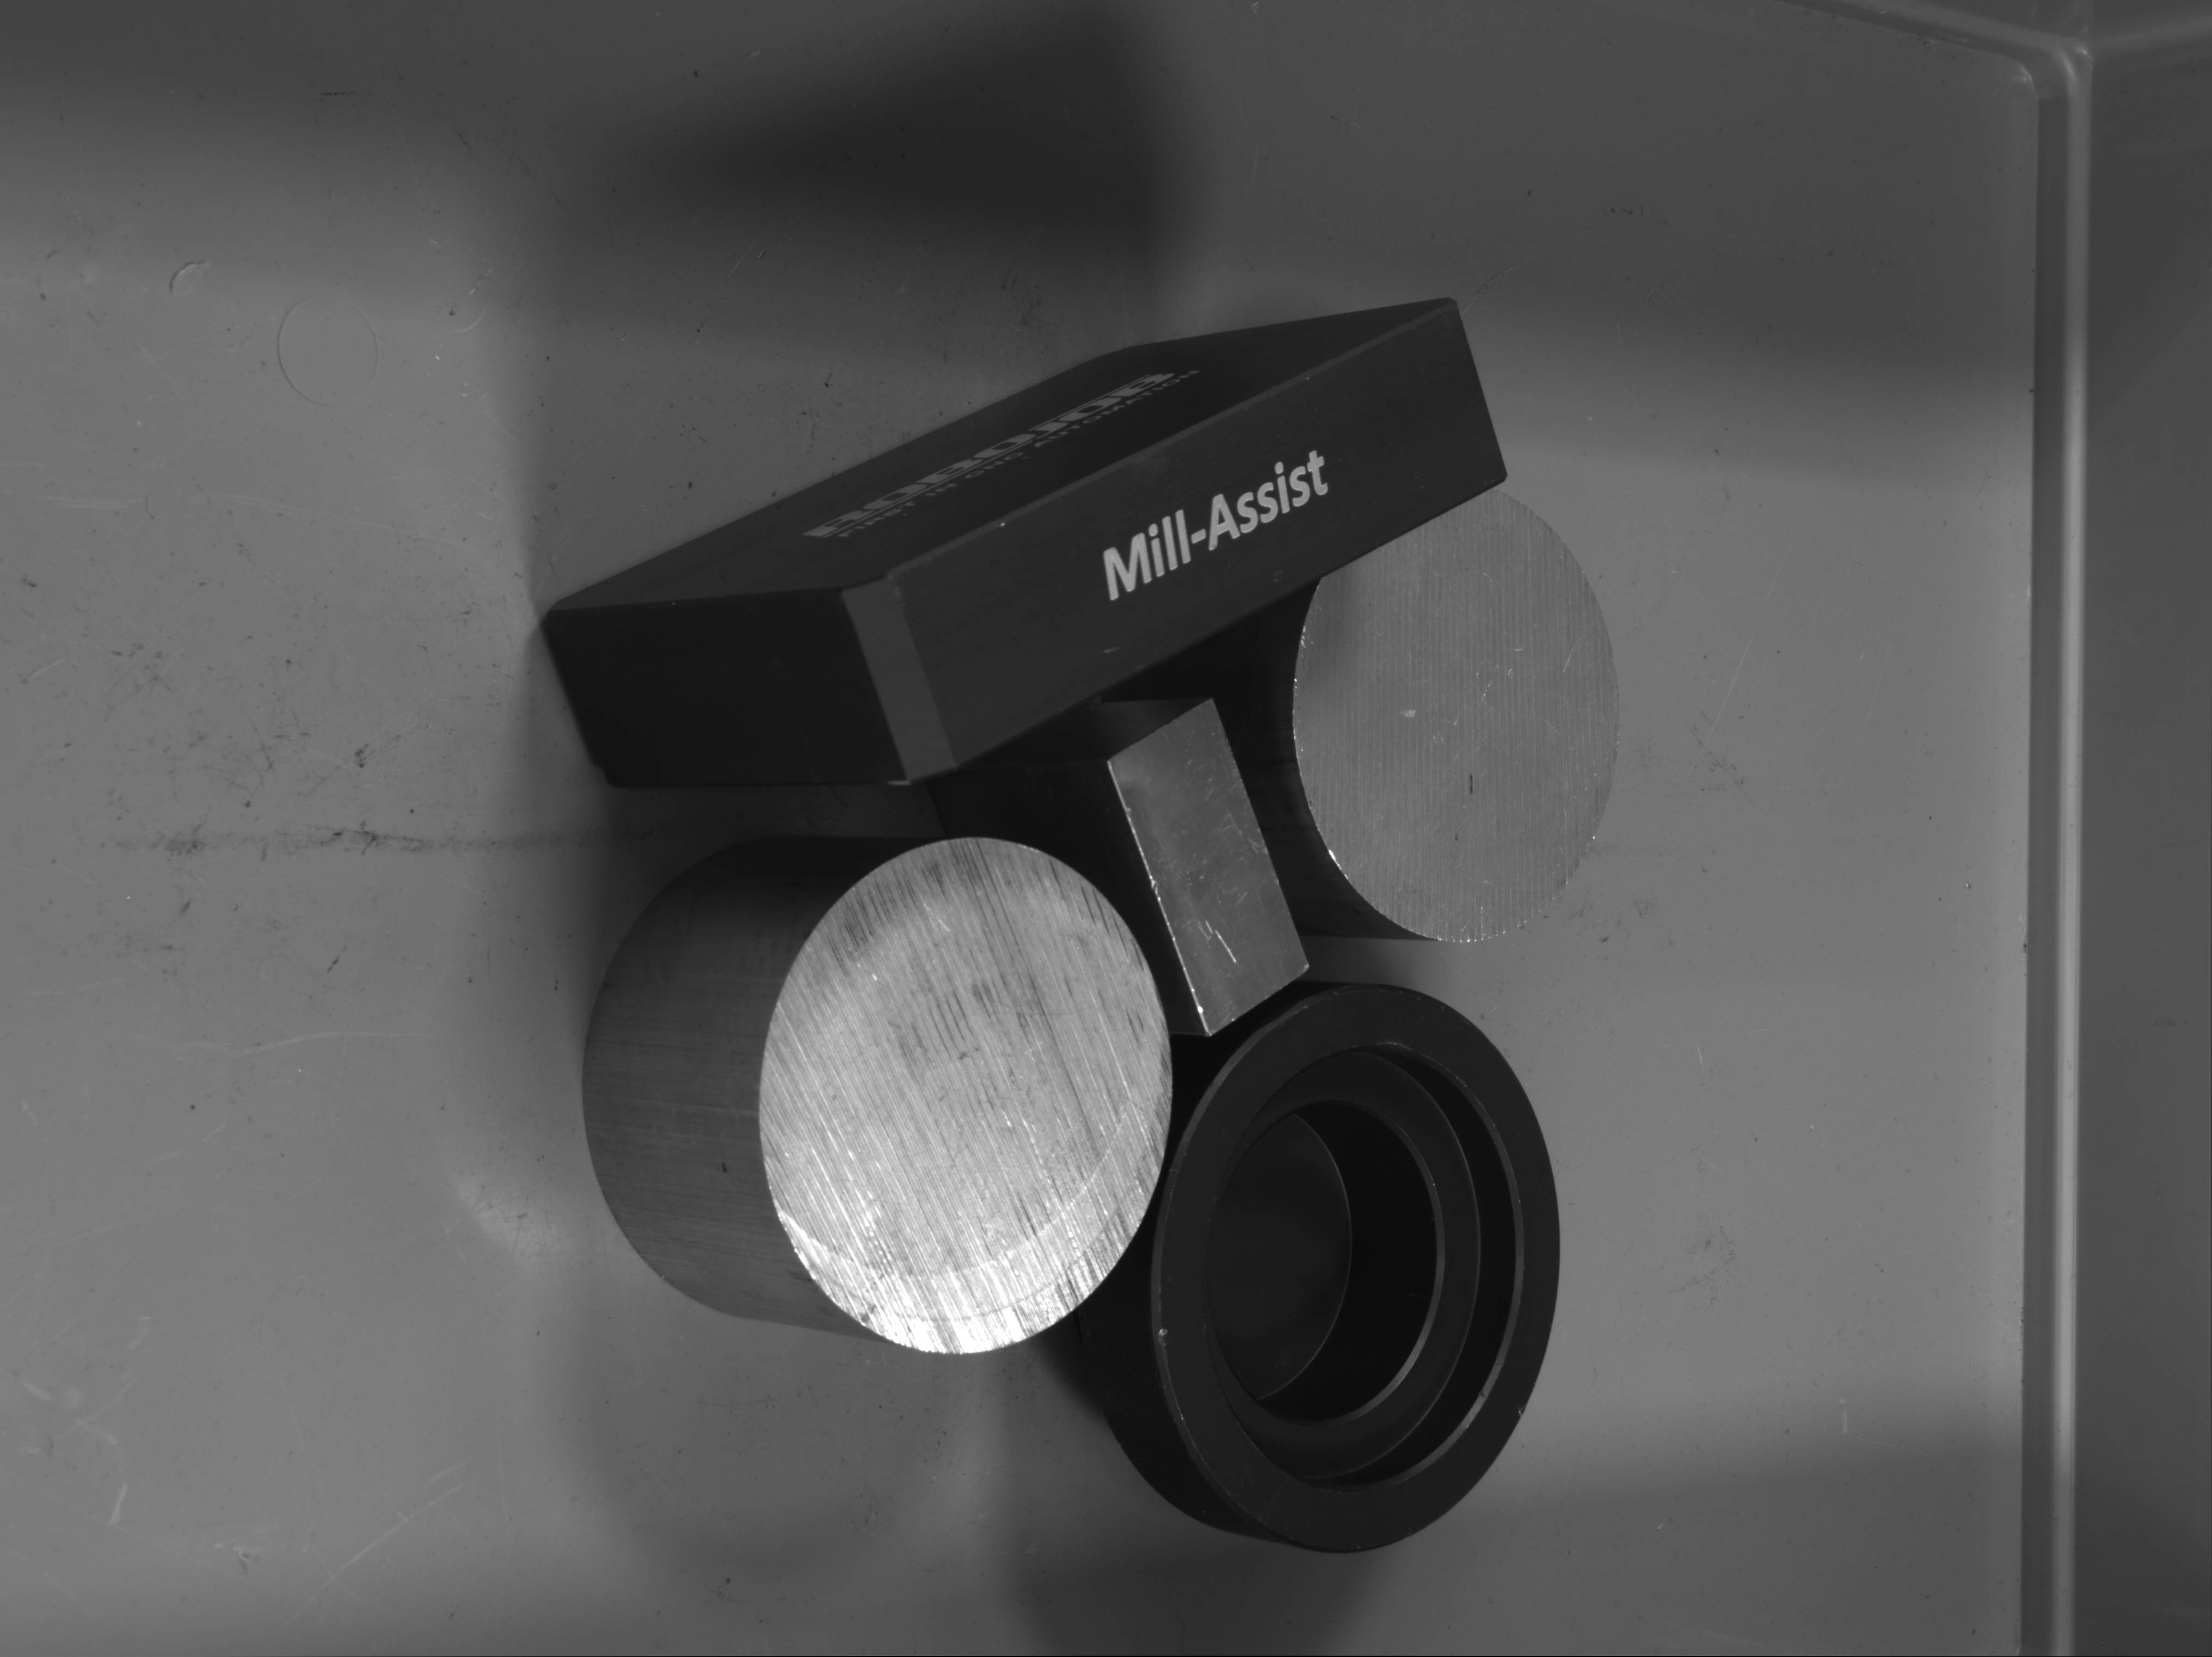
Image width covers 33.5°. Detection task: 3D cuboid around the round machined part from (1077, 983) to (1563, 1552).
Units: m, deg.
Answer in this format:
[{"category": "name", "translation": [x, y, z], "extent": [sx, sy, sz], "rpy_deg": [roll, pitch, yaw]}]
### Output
[{"category": "round machined part", "translation": [0.032, 0.076, 0.650], "extent": [0.098, 0.042, 0.098], "rpy_deg": [0, 90, -40]}]

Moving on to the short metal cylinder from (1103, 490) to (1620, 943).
[{"category": "short metal cylinder", "translation": [0.046, -0.020, 0.657], "extent": [0.080, 0.050, 0.080], "rpy_deg": [0, 90, -40]}]

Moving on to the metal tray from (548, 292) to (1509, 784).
[{"category": "metal tray", "translation": [-0.011, -0.046, 0.582], "extent": [0.130, 0.090, 0.030], "rpy_deg": [-29, 108, -35]}]

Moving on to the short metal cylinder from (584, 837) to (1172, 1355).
[{"category": "short metal cylinder", "translation": [-0.036, 0.041, 0.588], "extent": [0.080, 0.050, 0.080], "rpy_deg": [0, 90, -40]}]

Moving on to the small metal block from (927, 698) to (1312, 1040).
[{"category": "small metal block", "translation": [0.002, 0.007, 0.619], "extent": [0.025, 0.050, 0.050], "rpy_deg": [-31, 109, -35]}]
